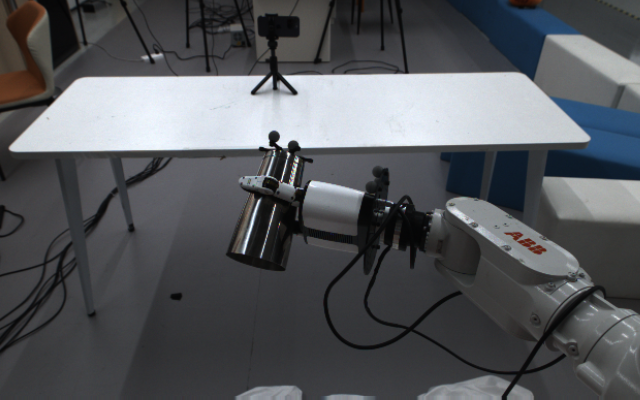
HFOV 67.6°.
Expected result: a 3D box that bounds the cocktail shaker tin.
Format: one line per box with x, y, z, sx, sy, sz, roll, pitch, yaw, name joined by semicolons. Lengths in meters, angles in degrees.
-0.075;0.014;0.738;0.093;0.093;0.170;10;71;12;cocktail shaker tin
